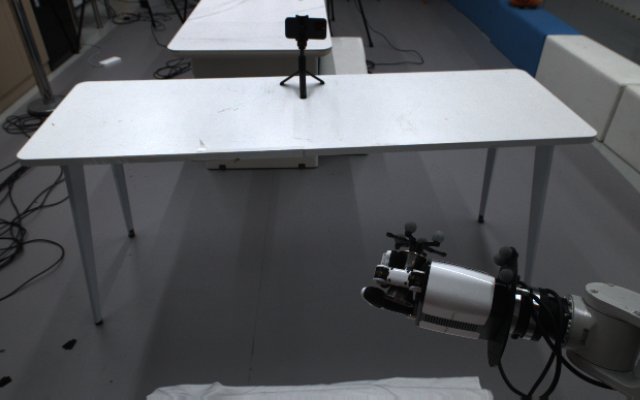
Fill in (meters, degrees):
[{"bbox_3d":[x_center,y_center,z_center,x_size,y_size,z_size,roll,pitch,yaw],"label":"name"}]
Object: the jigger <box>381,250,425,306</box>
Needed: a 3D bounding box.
[{"bbox_3d":[0.119,0.105,0.670,0.043,0.043,0.071,16,70,19],"label":"jigger"}]
